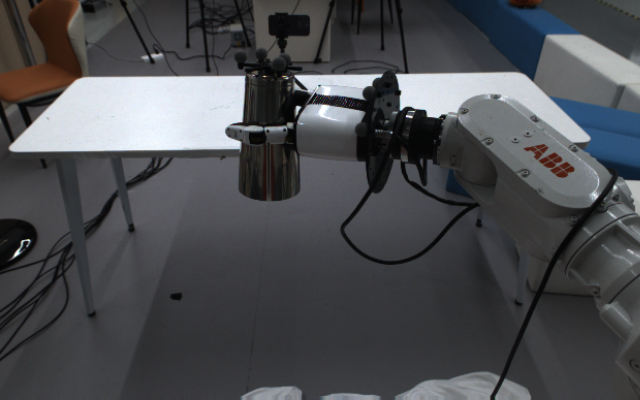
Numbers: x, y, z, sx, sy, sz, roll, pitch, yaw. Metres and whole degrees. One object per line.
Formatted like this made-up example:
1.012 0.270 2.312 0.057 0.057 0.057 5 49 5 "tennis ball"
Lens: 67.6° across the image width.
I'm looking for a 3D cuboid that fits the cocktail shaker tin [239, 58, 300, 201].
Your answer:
-0.071 -0.095 0.686 0.093 0.170 0.093 2 26 -1 "cocktail shaker tin"
